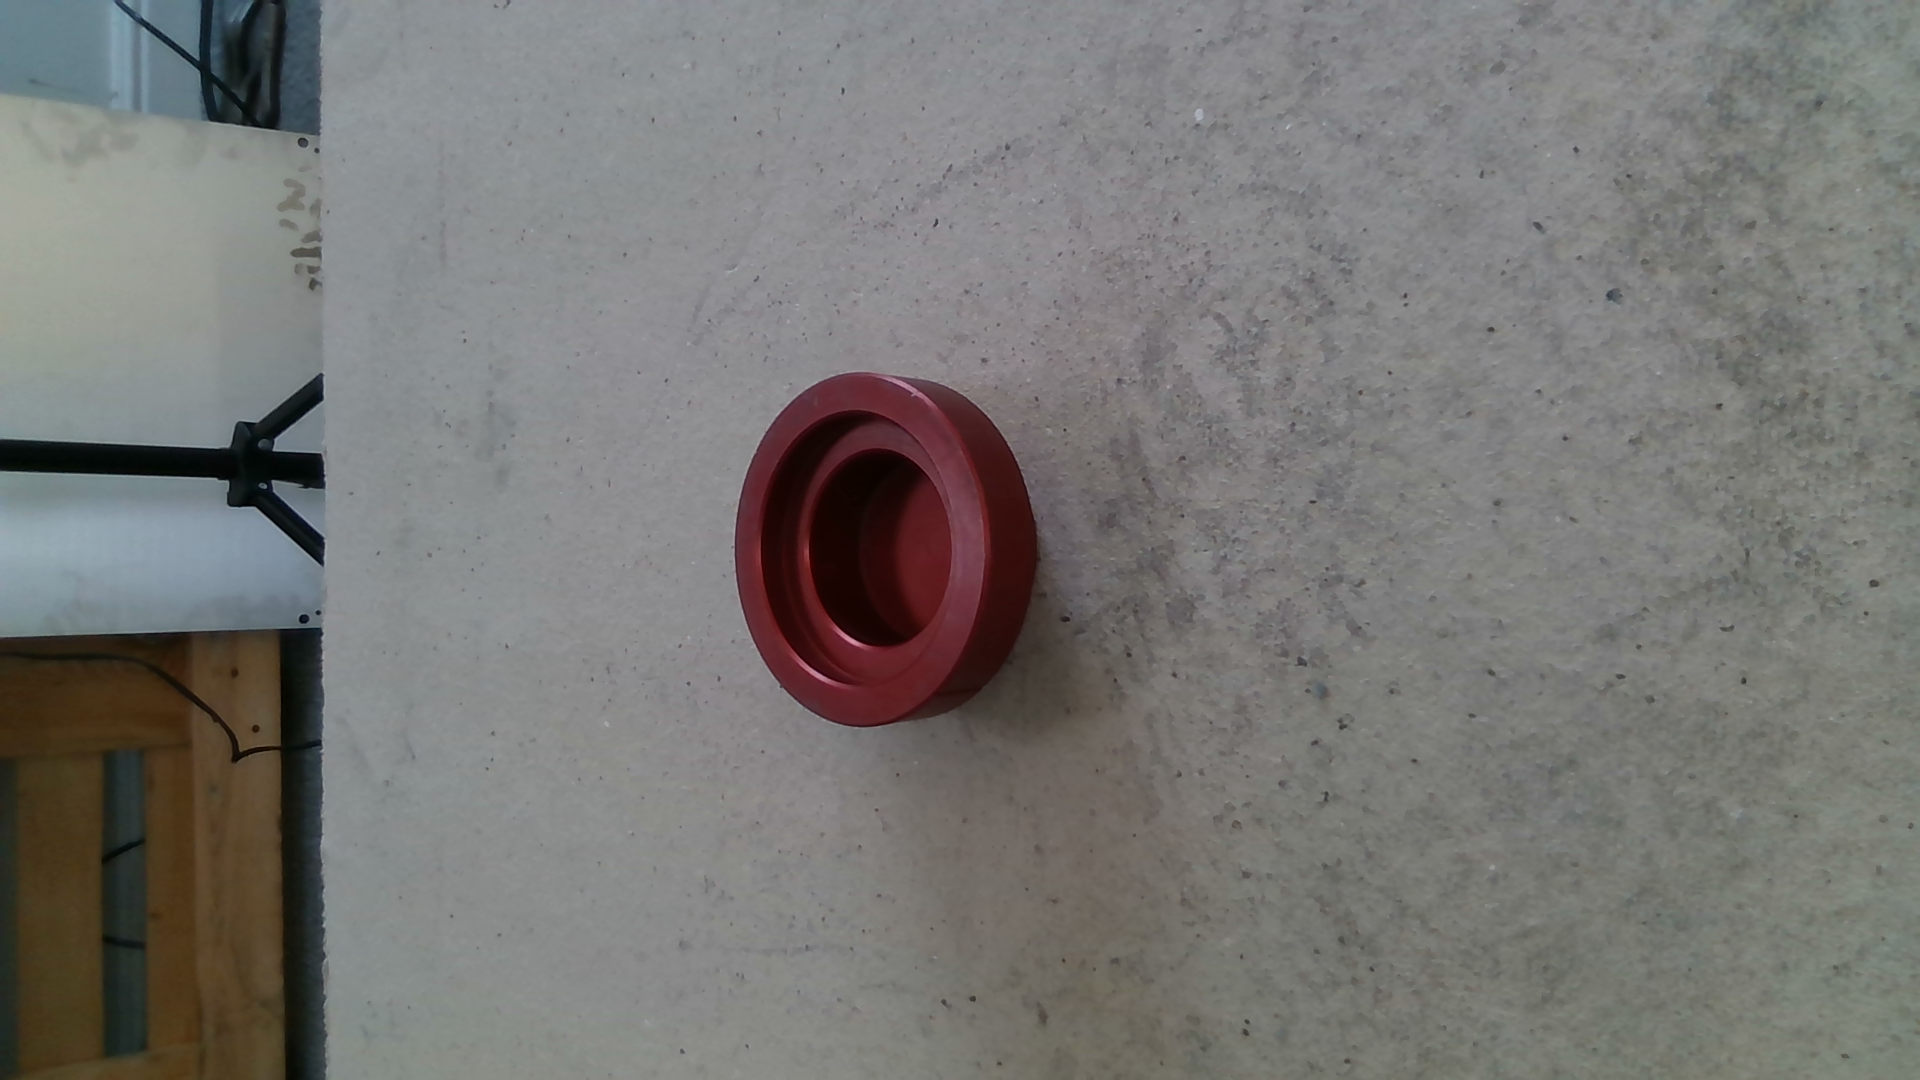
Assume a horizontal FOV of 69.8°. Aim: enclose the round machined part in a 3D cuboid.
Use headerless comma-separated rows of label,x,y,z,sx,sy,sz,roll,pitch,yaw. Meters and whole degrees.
round machined part,-0.017,0.003,0.394,0.098,0.042,0.098,0,91,40
